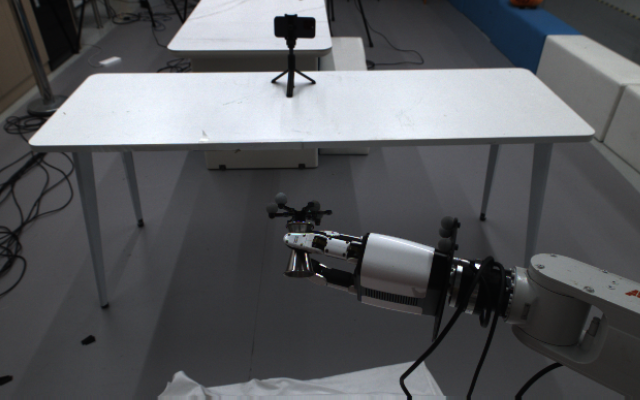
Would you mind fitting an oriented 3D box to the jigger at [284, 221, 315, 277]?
[{"bbox_3d":[-0.027,0.065,0.650,0.043,0.043,0.071,1,70,-2],"label":"jigger"}]
